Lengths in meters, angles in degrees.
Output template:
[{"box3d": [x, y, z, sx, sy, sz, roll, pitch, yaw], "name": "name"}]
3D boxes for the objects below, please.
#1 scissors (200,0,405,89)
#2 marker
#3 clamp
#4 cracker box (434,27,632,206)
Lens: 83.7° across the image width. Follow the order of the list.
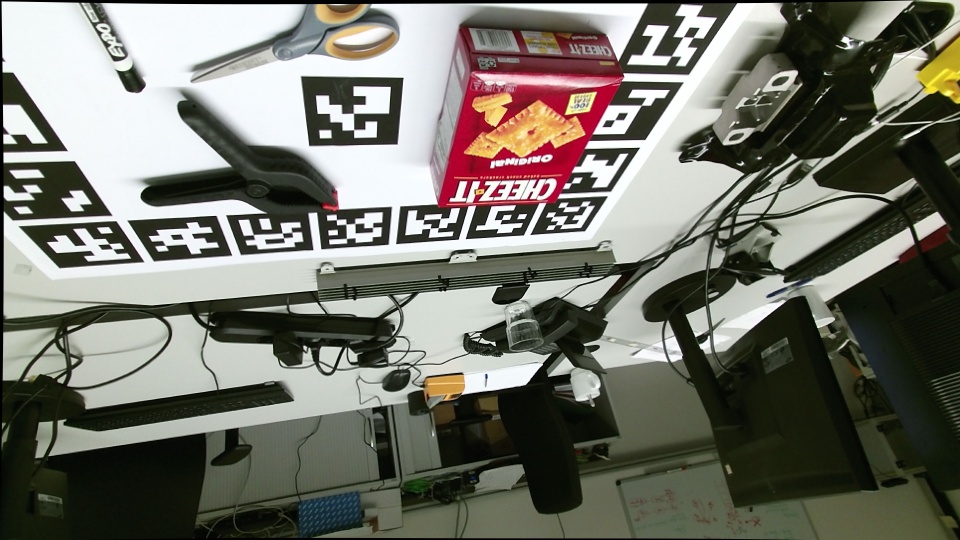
[{"box3d": [-0.167, -0.201, 0.489, 0.203, 0.016, 0.088, -17, 154, 12], "name": "scissors"}, {"box3d": [-0.303, -0.190, 0.446, 0.020, 0.019, 0.121, -7, 153, -13], "name": "marker"}, {"box3d": [-0.252, -0.109, 0.638, 0.203, 0.036, 0.165, 13, 144, -41], "name": "clamp"}, {"box3d": [0.047, -0.161, 0.609, 0.165, 0.071, 0.214, -5, 152, -17], "name": "cracker box"}]
